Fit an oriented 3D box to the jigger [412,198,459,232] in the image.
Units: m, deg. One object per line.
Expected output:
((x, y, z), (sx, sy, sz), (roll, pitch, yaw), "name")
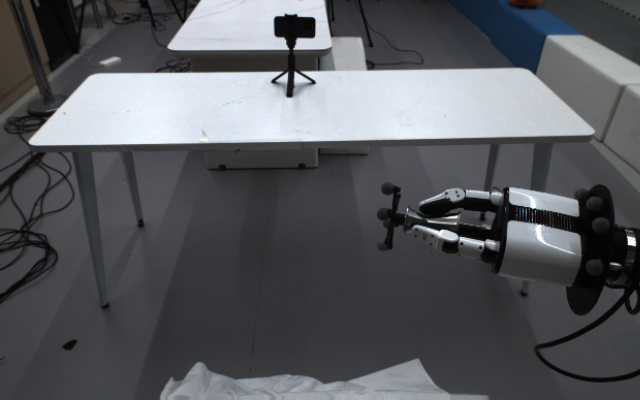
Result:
((0.152, 0.029, 0.632), (0.071, 0.043, 0.043), (8, 35, 16), "jigger")
